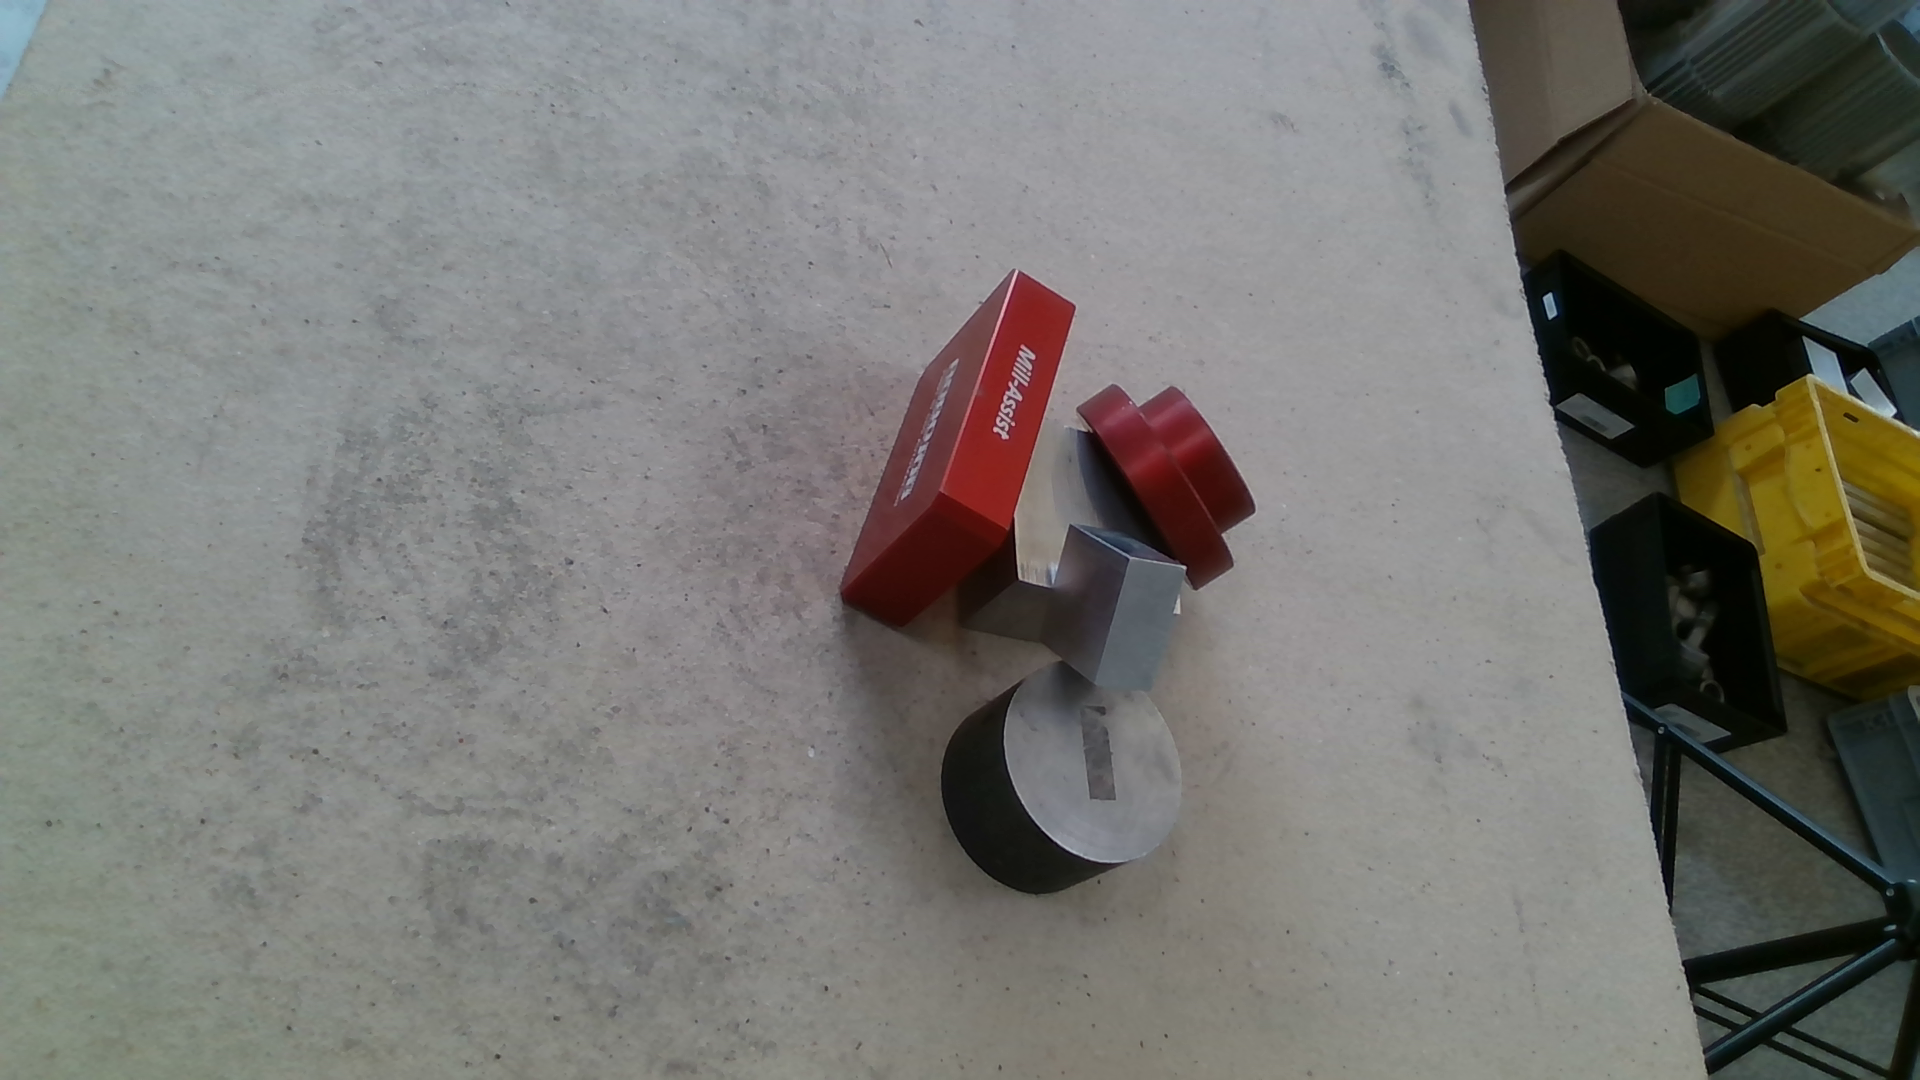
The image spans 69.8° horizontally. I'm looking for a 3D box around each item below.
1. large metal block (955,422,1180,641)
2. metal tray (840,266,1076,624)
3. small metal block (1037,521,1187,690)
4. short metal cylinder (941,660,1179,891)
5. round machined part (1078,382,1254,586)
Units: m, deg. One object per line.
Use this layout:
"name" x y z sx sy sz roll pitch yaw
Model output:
"large metal block" 0.044 -0.001 0.600 0.080 0.050 0.080 13 59 -26
"metal tray" 0.000 -0.040 0.565 0.030 0.090 0.130 29 53 -15
"small metal block" 0.058 0.025 0.534 0.025 0.050 0.050 9 102 -25
"short metal cylinder" 0.039 0.093 0.546 0.080 0.050 0.080 14 59 -25
"round machined part" 0.095 -0.030 0.614 0.042 0.098 0.098 -33 83 5
